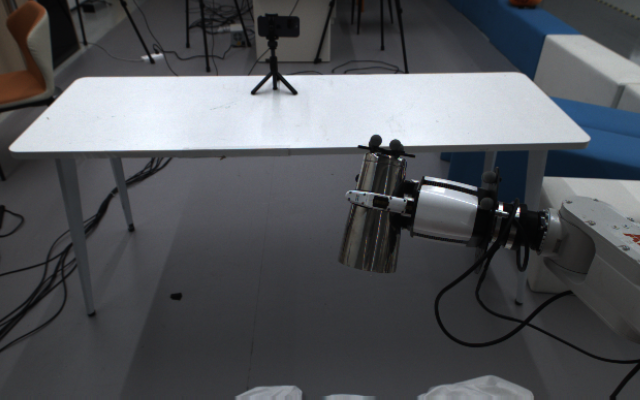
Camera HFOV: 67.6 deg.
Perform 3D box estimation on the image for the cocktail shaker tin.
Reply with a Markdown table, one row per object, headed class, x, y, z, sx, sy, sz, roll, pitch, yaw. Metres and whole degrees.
| class | x | y | z | sx | sy | sz | roll | pitch | yaw |
| --- | --- | --- | --- | --- | --- | --- | --- | --- | --- |
| cocktail shaker tin | 0.087 | 0.017 | 0.744 | 0.093 | 0.170 | 0.093 | 10 | 3 | -1 |
